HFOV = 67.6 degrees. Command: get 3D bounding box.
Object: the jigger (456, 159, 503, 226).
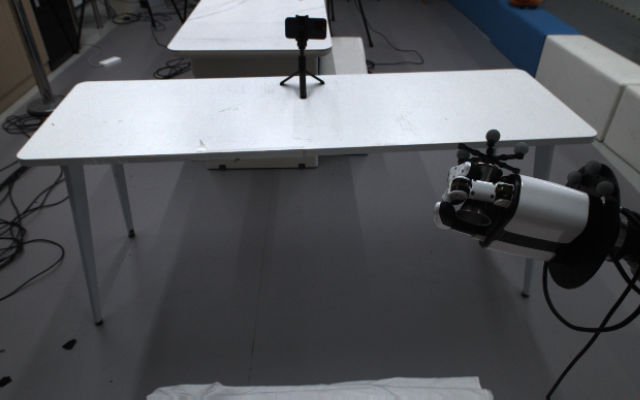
[{"bbox_3d":[0.202,-0.010,0.605,0.043,0.043,0.071,15,70,18],"label":"jigger"}]
